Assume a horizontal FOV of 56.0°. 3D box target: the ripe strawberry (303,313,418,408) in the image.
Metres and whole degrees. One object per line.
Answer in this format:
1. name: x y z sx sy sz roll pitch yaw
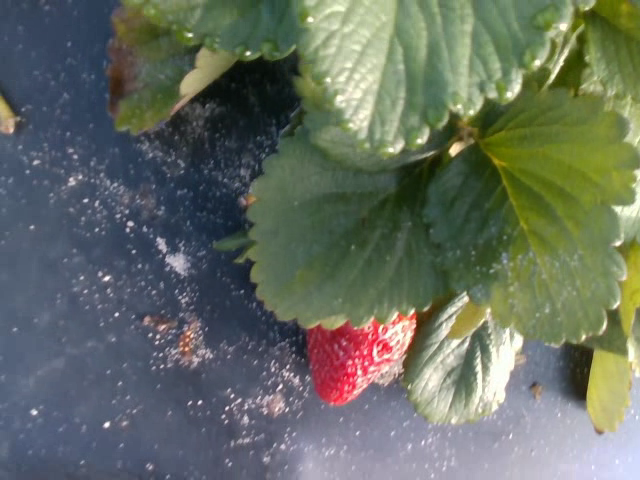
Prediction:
1. ripe strawberry: 0.006 0.024 0.129 0.029 0.036 0.021 20 6 -2
